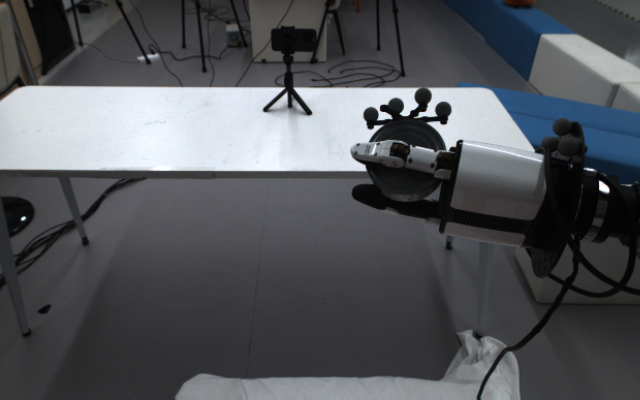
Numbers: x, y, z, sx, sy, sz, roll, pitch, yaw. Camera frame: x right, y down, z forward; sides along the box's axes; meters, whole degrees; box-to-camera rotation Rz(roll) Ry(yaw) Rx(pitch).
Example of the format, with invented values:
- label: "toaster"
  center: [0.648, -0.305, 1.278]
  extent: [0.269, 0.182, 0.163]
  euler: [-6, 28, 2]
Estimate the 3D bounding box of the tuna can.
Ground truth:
- label: "tuna can"
  center: [0.095, -0.044, 0.527]
  extent: [0.085, 0.034, 0.085]
  euler: [-4, 73, 14]
